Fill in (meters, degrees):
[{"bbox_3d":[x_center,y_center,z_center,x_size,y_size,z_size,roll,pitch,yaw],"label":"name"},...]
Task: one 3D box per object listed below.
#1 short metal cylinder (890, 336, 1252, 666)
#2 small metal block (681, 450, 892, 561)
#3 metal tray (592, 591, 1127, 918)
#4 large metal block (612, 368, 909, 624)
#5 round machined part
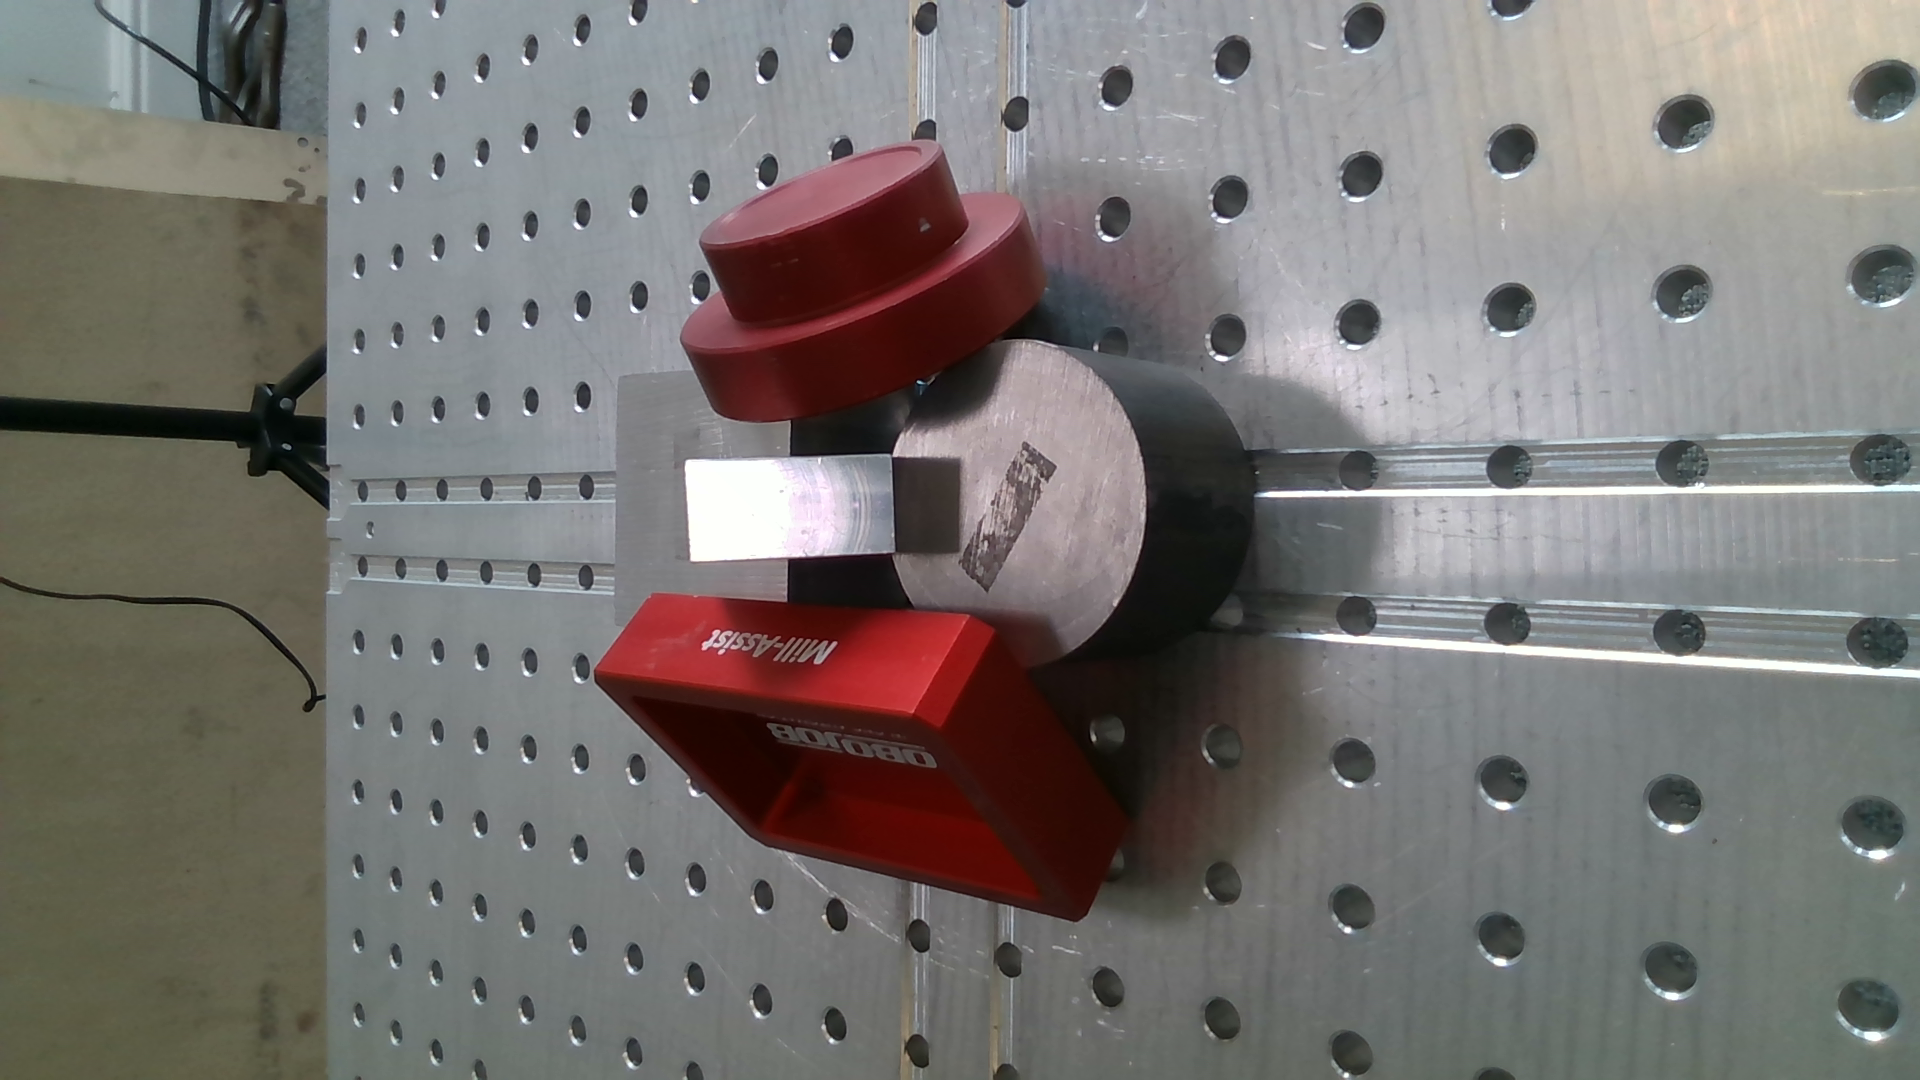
[{"bbox_3d":[0.027,-0.009,0.354,0.080,0.050,0.080,0,91,40],"label":"short metal cylinder"},{"bbox_3d":[-0.045,-0.009,0.360,0.050,0.050,0.025,-165,73,-82],"label":"small metal block"},{"bbox_3d":[-0.030,0.057,0.379,0.130,0.090,0.030,1,48,40],"label":"metal tray"},{"bbox_3d":[-0.063,-0.012,0.430,0.080,0.050,0.080,3,92,40],"label":"large metal block"},{"bbox_3d":[-0.031,-0.074,0.366,0.098,0.098,0.042,2,125,40],"label":"round machined part"}]
